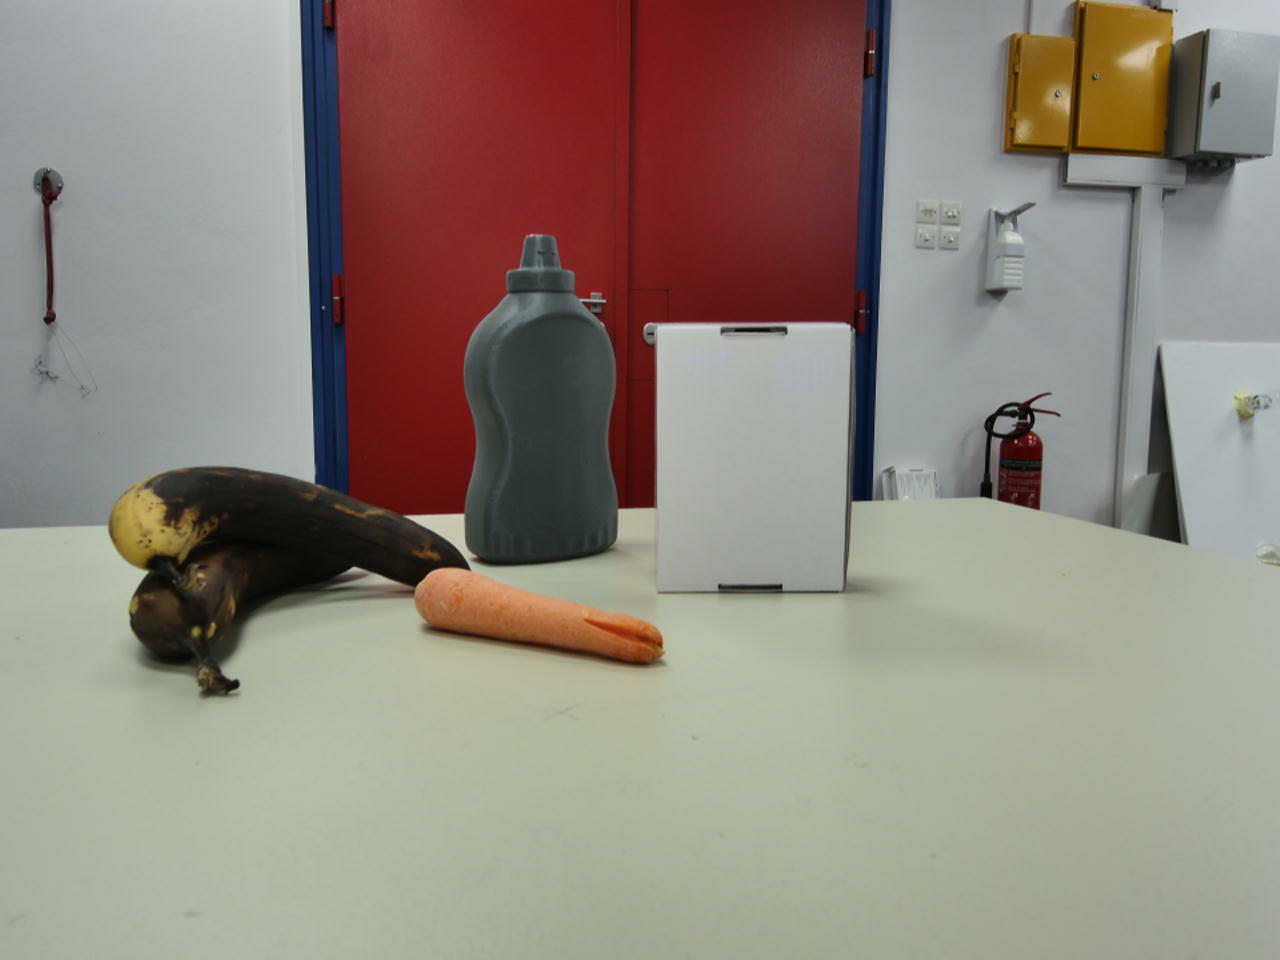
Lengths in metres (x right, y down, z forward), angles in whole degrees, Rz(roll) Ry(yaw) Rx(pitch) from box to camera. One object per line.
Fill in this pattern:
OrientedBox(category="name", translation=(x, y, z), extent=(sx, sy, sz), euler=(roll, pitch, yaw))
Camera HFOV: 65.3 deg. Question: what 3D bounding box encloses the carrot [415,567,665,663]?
OrientedBox(category="carrot", translation=(-0.049, 0.060, 0.457), extent=(0.136, 0.032, 0.030), euler=(3, 5, 32))
